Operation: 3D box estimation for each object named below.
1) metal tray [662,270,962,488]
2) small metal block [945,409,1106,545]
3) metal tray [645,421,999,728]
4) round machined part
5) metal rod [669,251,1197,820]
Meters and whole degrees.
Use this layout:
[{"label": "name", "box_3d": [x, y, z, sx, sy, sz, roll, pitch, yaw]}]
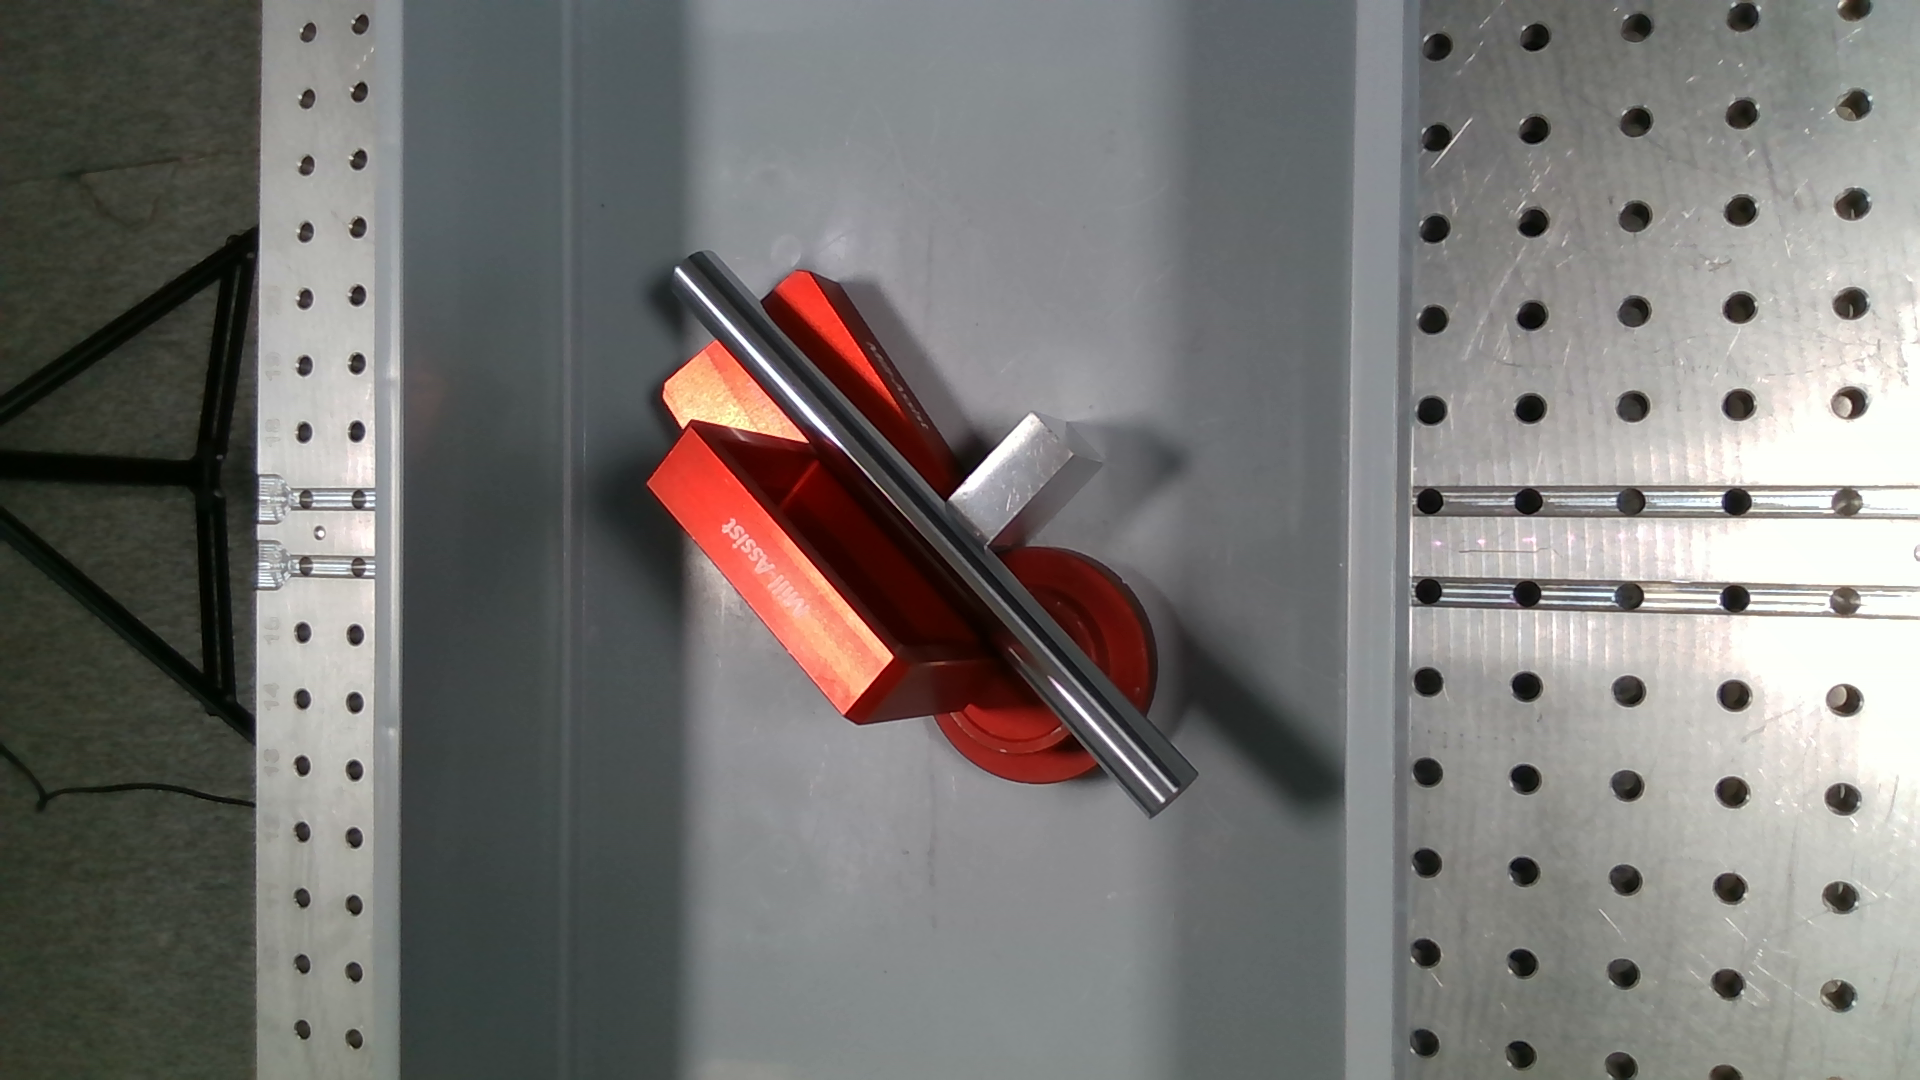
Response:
[{"label": "metal tray", "box_3d": [-0.062, -0.040, 0.604, 0.090, 0.030, 0.130, -37, 78, 17]}, {"label": "small metal block", "box_3d": [0.027, -0.024, 0.561, 0.050, 0.050, 0.025, -47, 76, 15]}, {"label": "metal tray", "box_3d": [-0.050, 0.012, 0.528, 0.130, 0.090, 0.030, 47, 107, 21]}, {"label": "round machined part", "box_3d": [0.028, 0.052, 0.565, 0.098, 0.042, 0.098, 0, 91, 20]}, {"label": "metal rod", "box_3d": [-0.019, -0.010, 0.550, 0.025, 0.025, 0.299, -47, 71, 14]}]
